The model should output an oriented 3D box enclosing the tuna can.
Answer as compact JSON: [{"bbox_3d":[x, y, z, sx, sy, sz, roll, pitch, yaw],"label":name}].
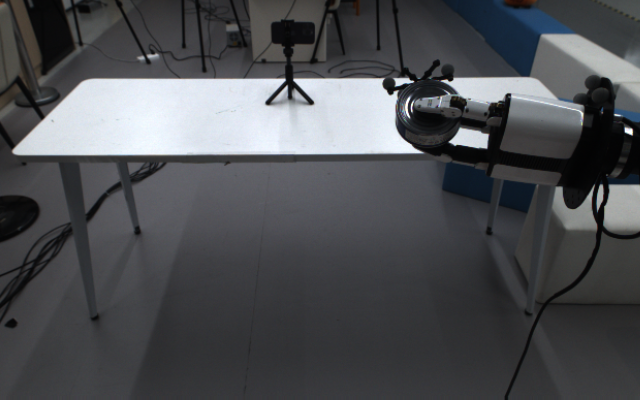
[{"bbox_3d":[0.143,-0.116,0.631,0.085,0.034,0.085,-4,68,9],"label":"tuna can"}]
